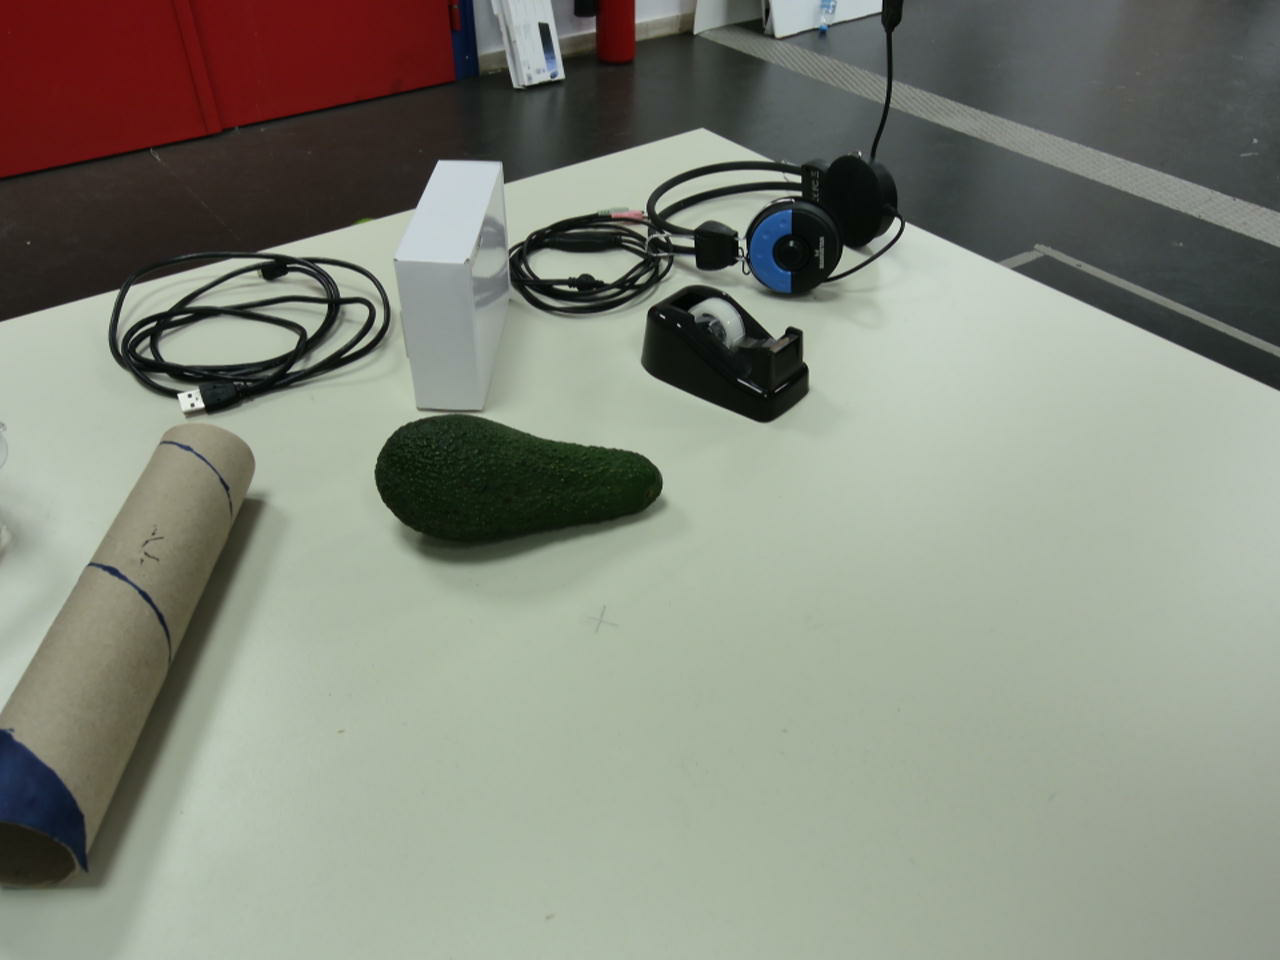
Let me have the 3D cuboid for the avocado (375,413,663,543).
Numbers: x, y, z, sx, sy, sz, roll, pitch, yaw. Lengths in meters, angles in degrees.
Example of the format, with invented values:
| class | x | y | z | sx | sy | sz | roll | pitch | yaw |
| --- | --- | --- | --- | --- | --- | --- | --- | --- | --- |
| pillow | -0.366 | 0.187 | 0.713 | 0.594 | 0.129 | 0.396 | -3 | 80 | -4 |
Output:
| class | x | y | z | sx | sy | sz | roll | pitch | yaw |
| --- | --- | --- | --- | --- | --- | --- | --- | --- | --- |
| avocado | -0.059 | -0.009 | 0.497 | 0.141 | 0.067 | 0.063 | -14 | 40 | -18 |
